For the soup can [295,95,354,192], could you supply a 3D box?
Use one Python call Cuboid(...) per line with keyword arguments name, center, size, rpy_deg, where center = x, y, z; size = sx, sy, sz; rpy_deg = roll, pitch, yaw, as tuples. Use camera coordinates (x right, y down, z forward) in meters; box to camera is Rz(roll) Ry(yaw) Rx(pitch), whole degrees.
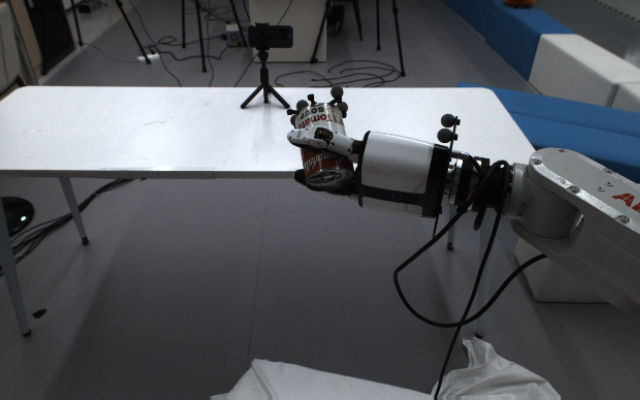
Cuboid(name="soup can", center=(0.007, -0.071, 0.658), size=(0.067, 0.067, 0.101), rpy_deg=(-6, 67, -12))
